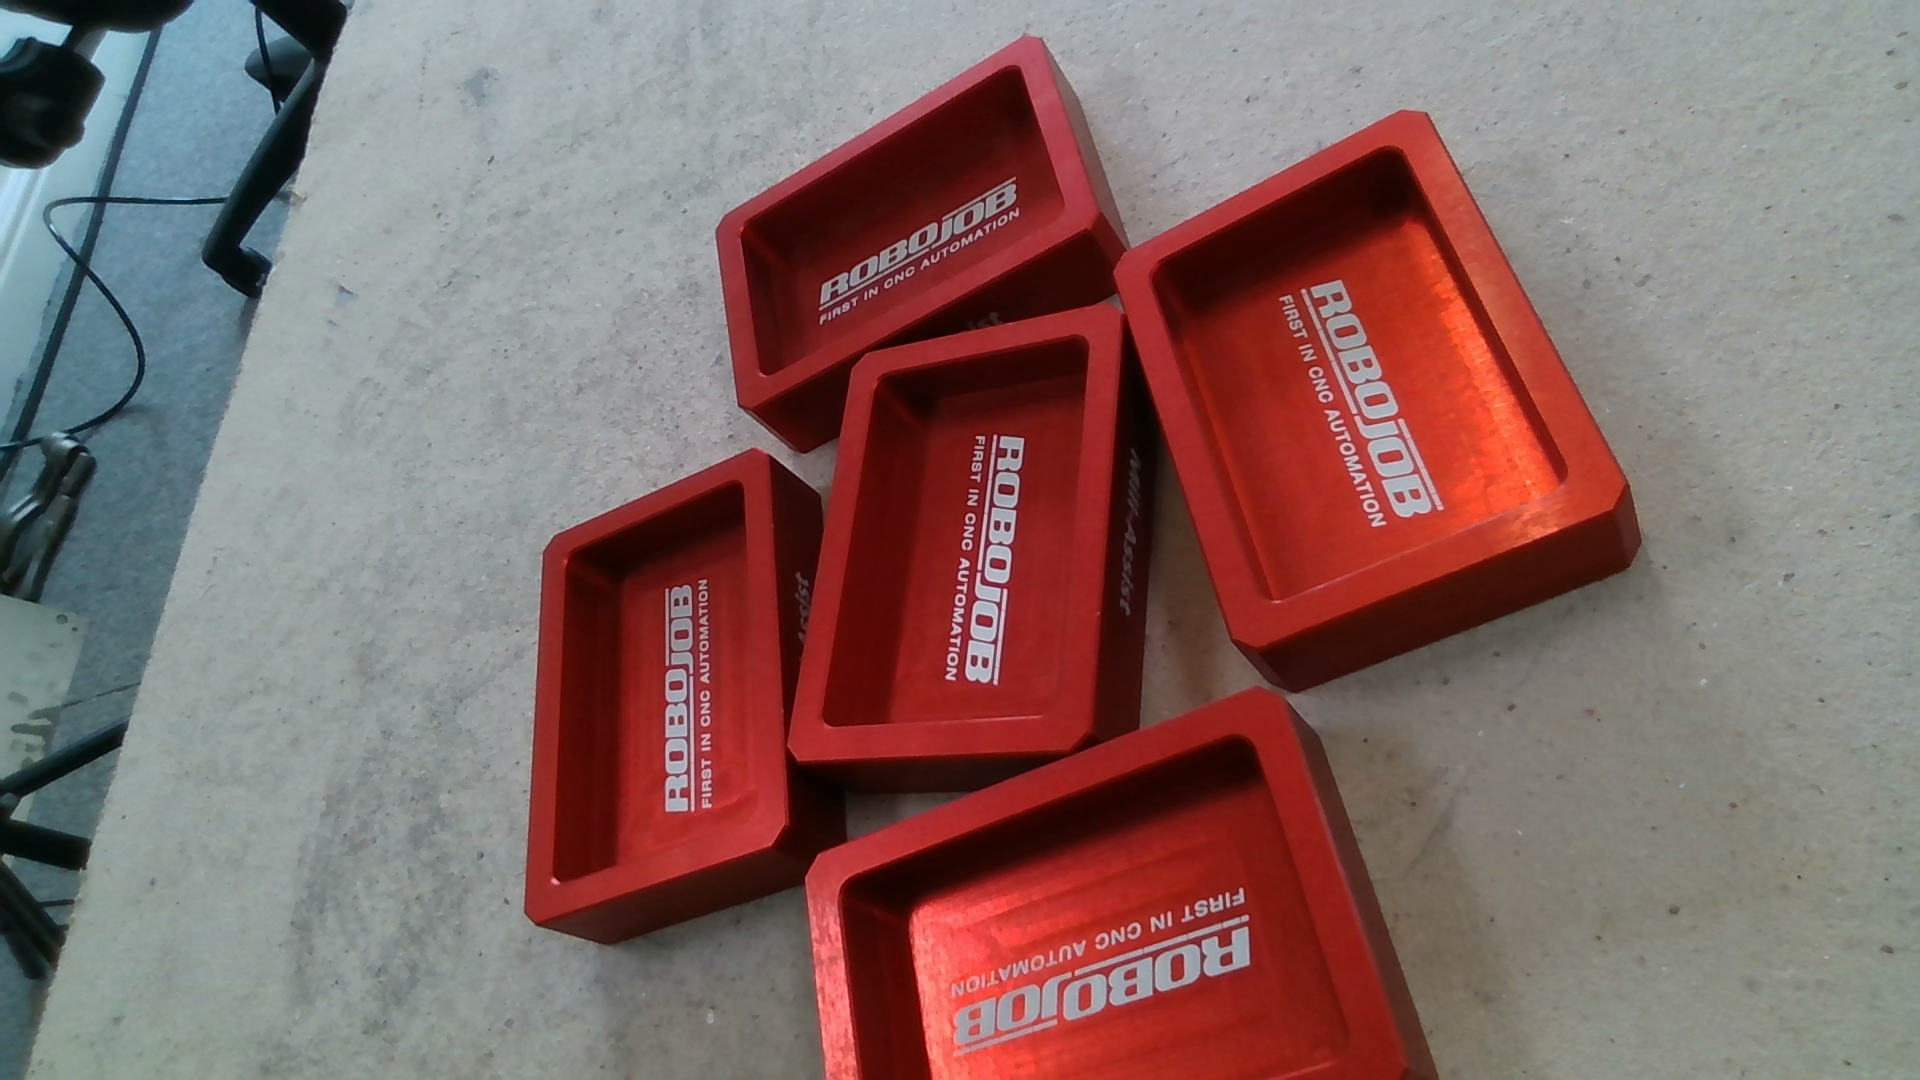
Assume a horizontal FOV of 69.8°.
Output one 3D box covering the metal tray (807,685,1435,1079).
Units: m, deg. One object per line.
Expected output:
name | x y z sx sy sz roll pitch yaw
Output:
metal tray | 0.030 0.099 0.319 0.130 0.030 0.090 -24 54 19

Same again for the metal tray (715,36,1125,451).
metal tray | -0.016 -0.096 0.451 0.130 0.030 0.090 -25 54 19

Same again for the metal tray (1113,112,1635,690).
metal tray | 0.098 -0.038 0.350 0.090 0.030 0.130 -24 54 19

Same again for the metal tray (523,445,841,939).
metal tray | -0.085 0.045 0.418 0.090 0.030 0.130 -21 56 21

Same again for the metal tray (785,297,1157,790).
metal tray | 0.006 0.002 0.385 0.090 0.030 0.130 -8 61 30
